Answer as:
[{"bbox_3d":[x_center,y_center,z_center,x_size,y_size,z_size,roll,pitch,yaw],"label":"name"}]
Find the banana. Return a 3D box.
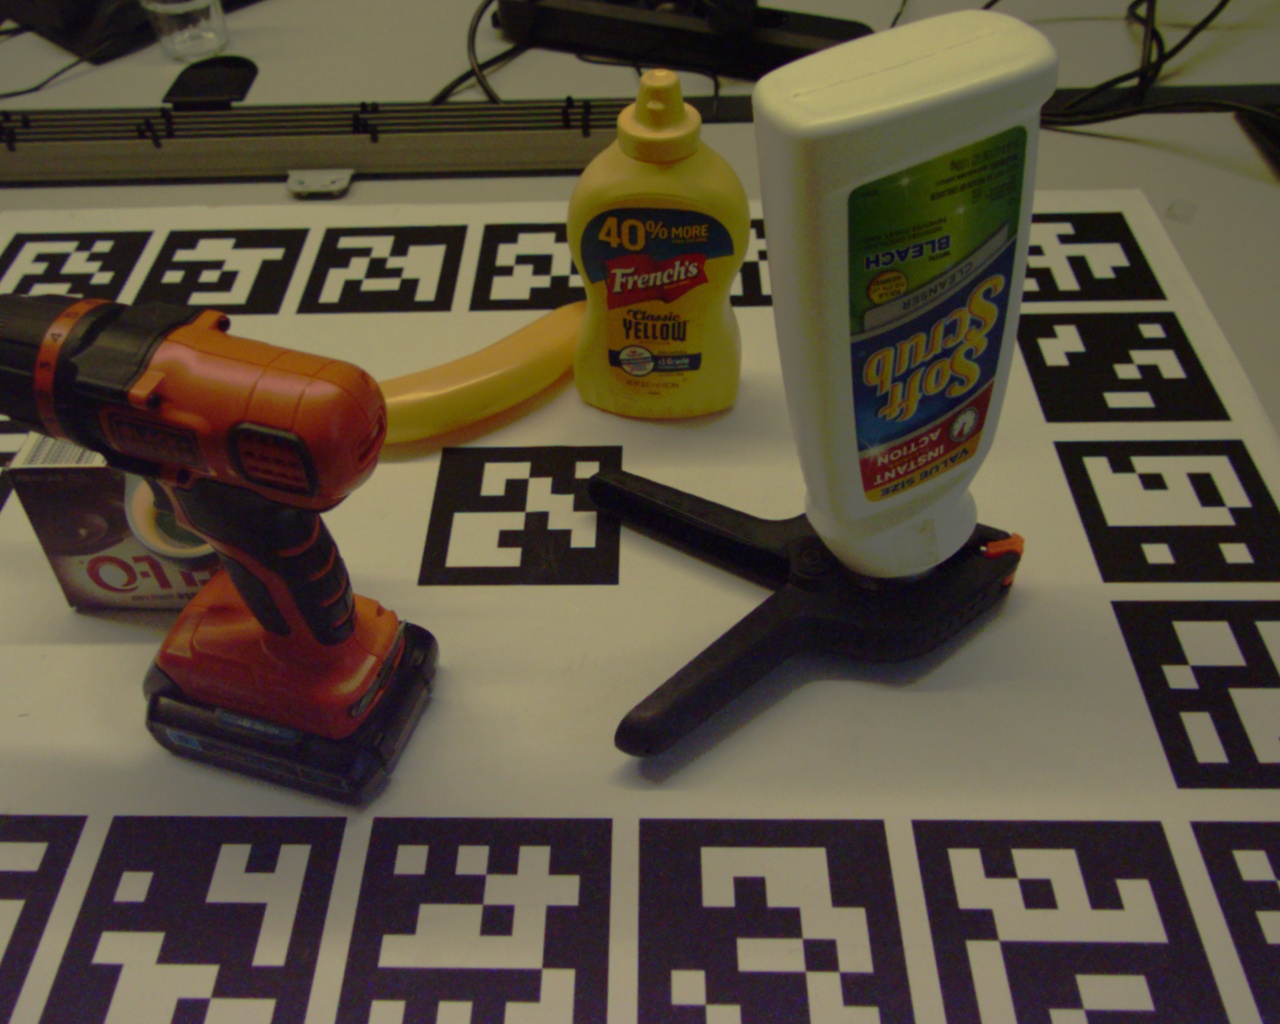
[{"bbox_3d":[-0.093,-0.099,0.697,0.196,0.038,0.075,-32,37,-24],"label":"banana"}]

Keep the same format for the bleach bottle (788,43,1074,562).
[{"bbox_3d":[0.122,-0.064,0.501,0.102,0.249,0.068,-18,45,-6],"label":"bleach bottle"}]

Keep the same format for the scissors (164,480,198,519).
[{"bbox_3d":[-0.237,-0.050,0.542,0.204,0.016,0.087,21,55,15],"label":"scissors"}]

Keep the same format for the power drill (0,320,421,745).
[{"bbox_3d":[-0.170,0.008,0.467,0.186,0.186,0.057,8,40,13],"label":"power drill"}]

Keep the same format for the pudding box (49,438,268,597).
[{"bbox_3d":[-0.228,-0.001,0.583,0.114,0.089,0.039,3,40,4],"label":"pudding box"}]

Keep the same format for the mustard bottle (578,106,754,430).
[{"bbox_3d":[0.014,-0.133,0.636,0.097,0.191,0.058,11,47,10],"label":"mustard bottle"}]

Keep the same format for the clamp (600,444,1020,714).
[{"bbox_3d":[0.088,0.019,0.568,0.202,0.036,0.166,-5,49,-4],"label":"clamp"}]
